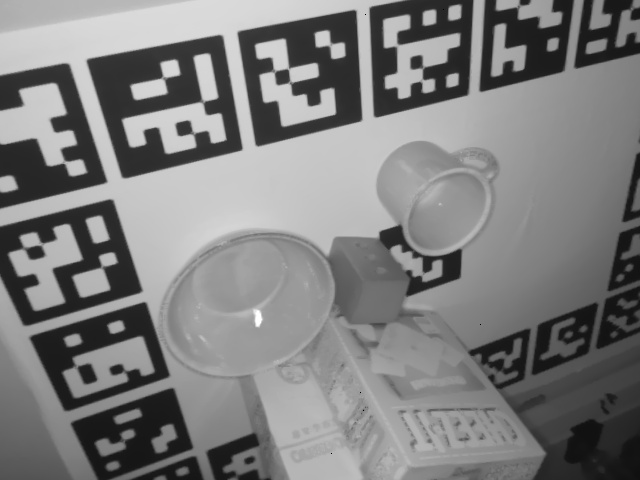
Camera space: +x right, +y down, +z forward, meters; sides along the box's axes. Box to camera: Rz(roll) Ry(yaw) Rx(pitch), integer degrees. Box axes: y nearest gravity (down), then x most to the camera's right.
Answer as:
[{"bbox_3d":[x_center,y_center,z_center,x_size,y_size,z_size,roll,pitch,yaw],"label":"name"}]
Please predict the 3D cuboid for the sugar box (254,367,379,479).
[{"bbox_3d":[0.005,0.195,0.676,0.094,0.176,0.045,3,118,-25],"label":"sugar box"}]

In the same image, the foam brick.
[{"bbox_3d":[0.063,0.048,0.684,0.053,0.078,0.051,-3,121,-23],"label":"foam brick"}]

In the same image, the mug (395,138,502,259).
[{"bbox_3d":[0.133,-0.047,0.648,0.118,0.081,0.093,-25,134,-11],"label":"mug"}]

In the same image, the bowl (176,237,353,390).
[{"bbox_3d":[-0.054,0.057,0.632,0.163,0.055,0.160,-11,121,-18],"label":"bowl"}]

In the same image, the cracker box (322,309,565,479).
[{"bbox_3d":[0.113,0.162,0.685,0.166,0.213,0.071,12,116,-28],"label":"cracker box"}]
